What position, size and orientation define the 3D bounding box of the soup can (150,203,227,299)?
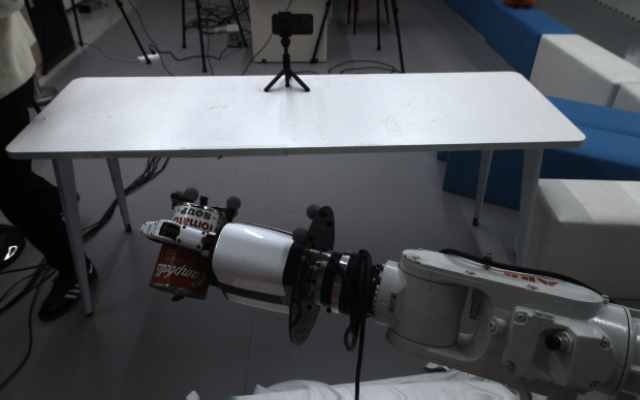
[{"bbox_3d":[-0.155,0.062,0.577,0.067,0.067,0.101,9,70,9],"label":"soup can"}]
